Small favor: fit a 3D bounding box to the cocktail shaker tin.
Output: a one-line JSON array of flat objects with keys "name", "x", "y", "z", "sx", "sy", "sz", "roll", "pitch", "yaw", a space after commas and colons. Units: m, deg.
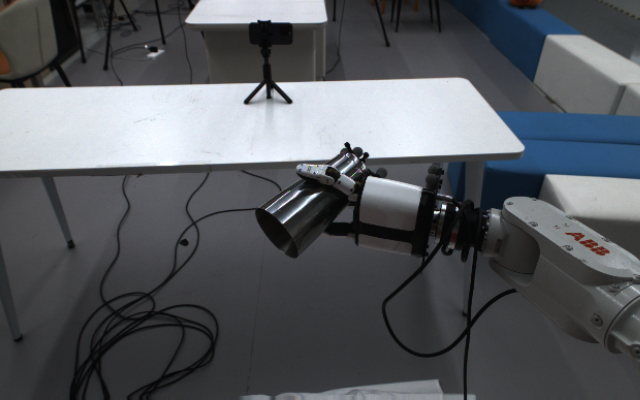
[{"name": "cocktail shaker tin", "x": -0.004, "y": -0.006, "z": 0.734, "sx": 0.170, "sy": 0.093, "sz": 0.093, "roll": -38, "pitch": 50, "yaw": -24}]
